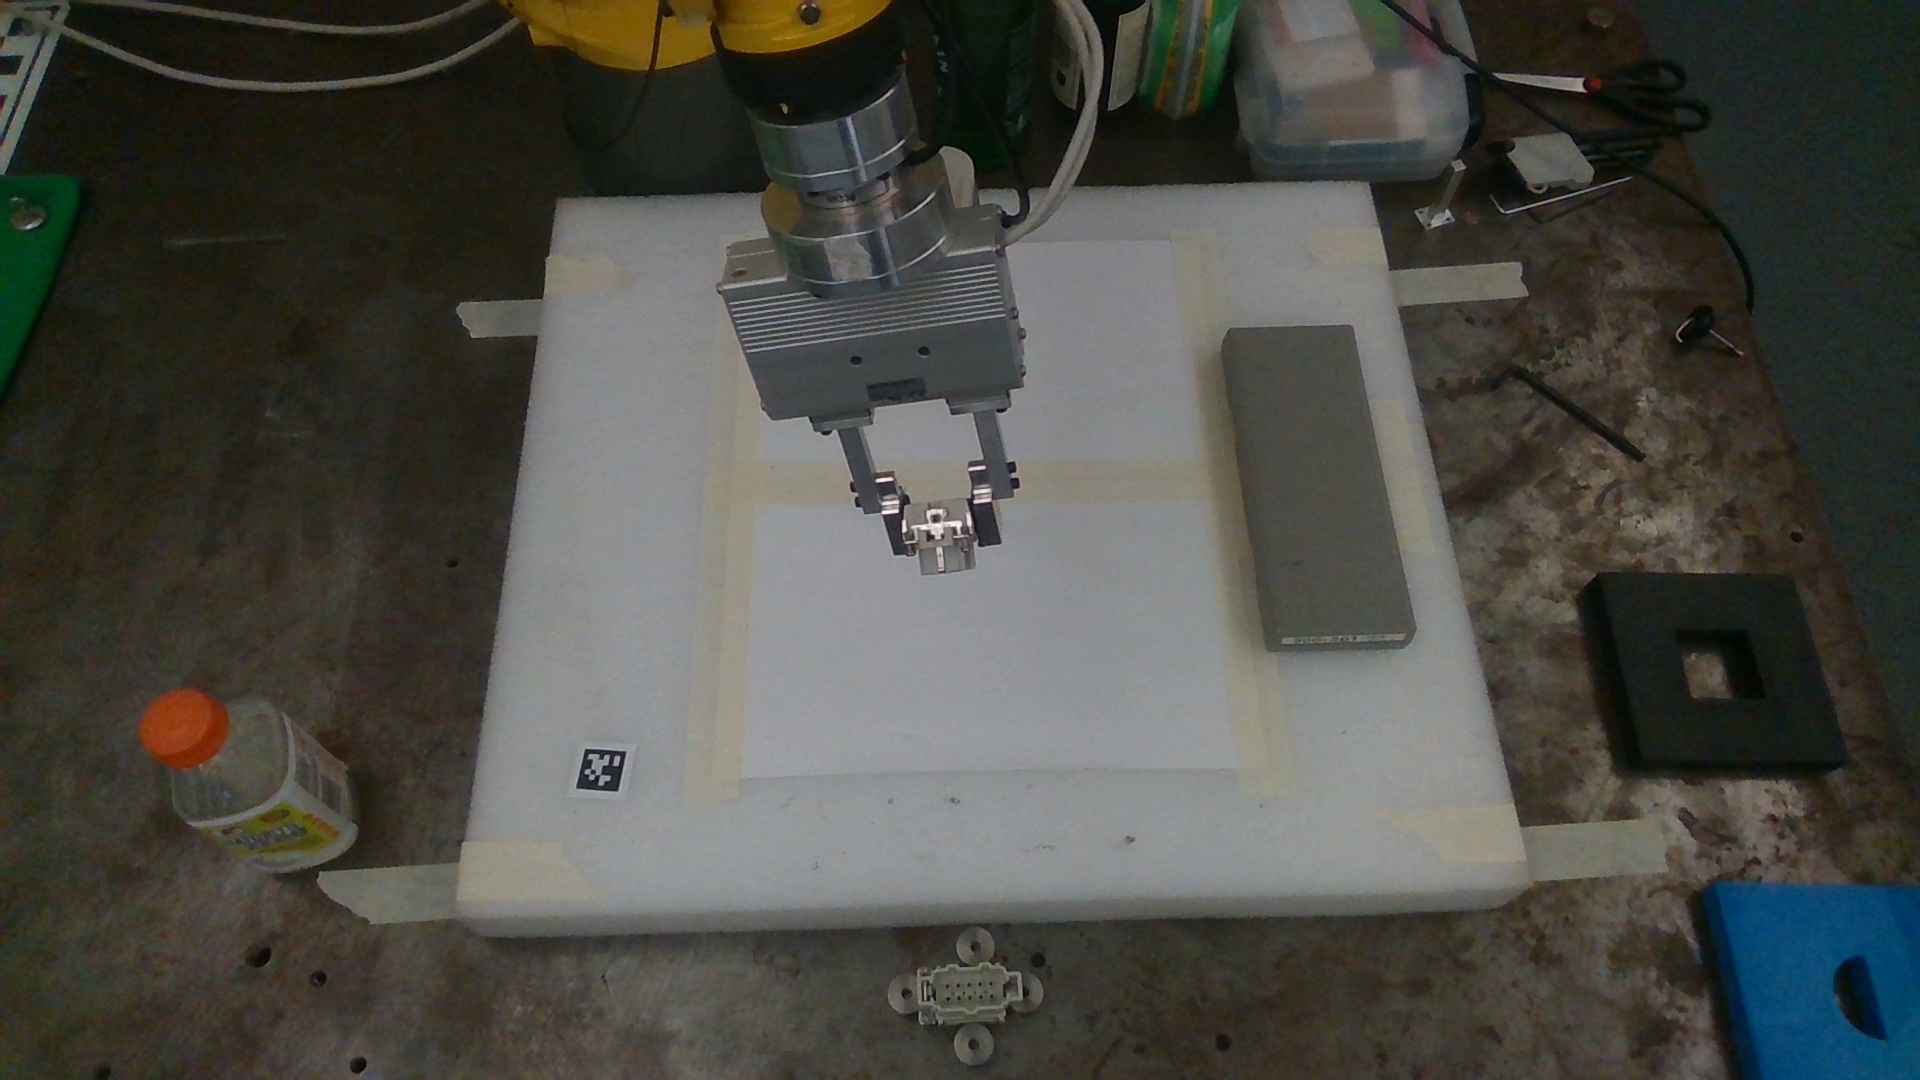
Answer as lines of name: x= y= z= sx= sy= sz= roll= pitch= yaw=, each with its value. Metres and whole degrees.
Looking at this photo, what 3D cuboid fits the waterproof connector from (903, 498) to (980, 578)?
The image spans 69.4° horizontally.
waterproof connector: x=-0.009 y=-0.001 z=0.748 sx=0.037 sy=0.069 sz=0.038 roll=-7 pitch=93 yaw=5
